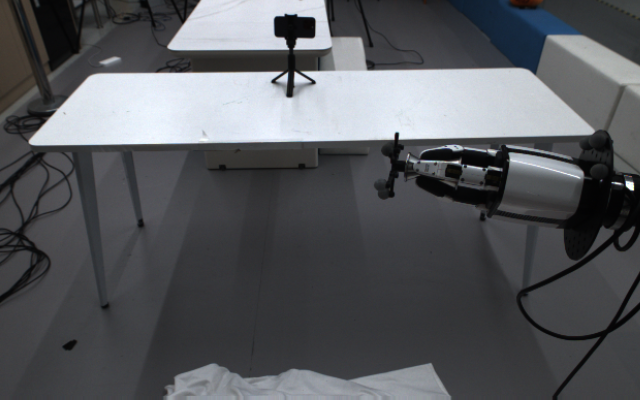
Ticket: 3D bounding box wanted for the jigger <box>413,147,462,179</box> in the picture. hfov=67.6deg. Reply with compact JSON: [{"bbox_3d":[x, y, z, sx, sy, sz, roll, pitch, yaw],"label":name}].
[{"bbox_3d":[0.154,-0.043,0.632,0.071,0.043,0.043,8,35,16],"label":"jigger"}]
